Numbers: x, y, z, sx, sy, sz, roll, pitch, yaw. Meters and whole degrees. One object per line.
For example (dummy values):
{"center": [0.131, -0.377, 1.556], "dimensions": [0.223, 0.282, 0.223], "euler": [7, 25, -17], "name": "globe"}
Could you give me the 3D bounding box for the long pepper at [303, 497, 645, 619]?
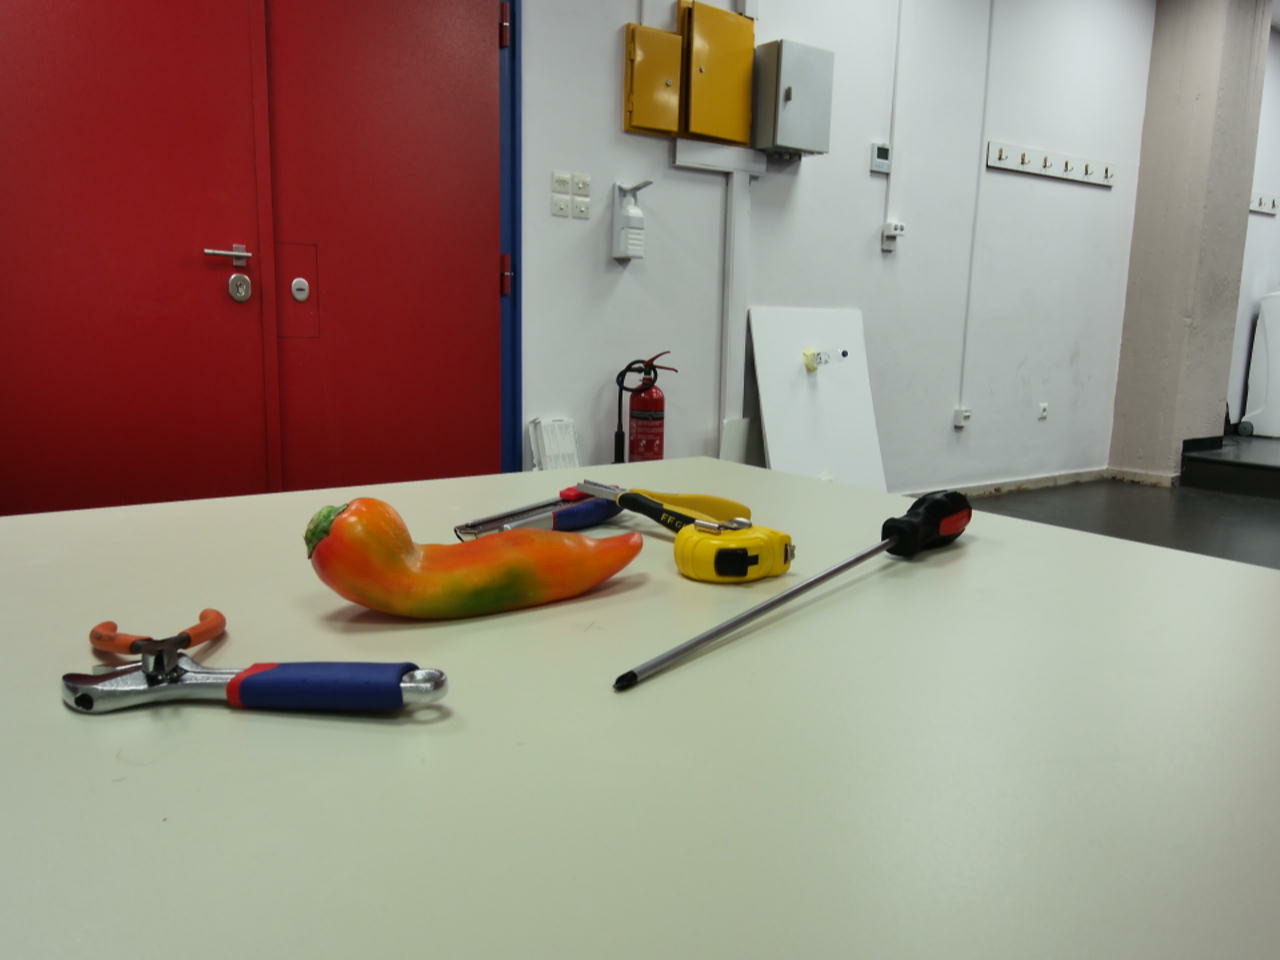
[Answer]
{"center": [-0.080, 0.036, 0.550], "dimensions": [0.199, 0.065, 0.066], "euler": [-4, 9, -31], "name": "long pepper"}
